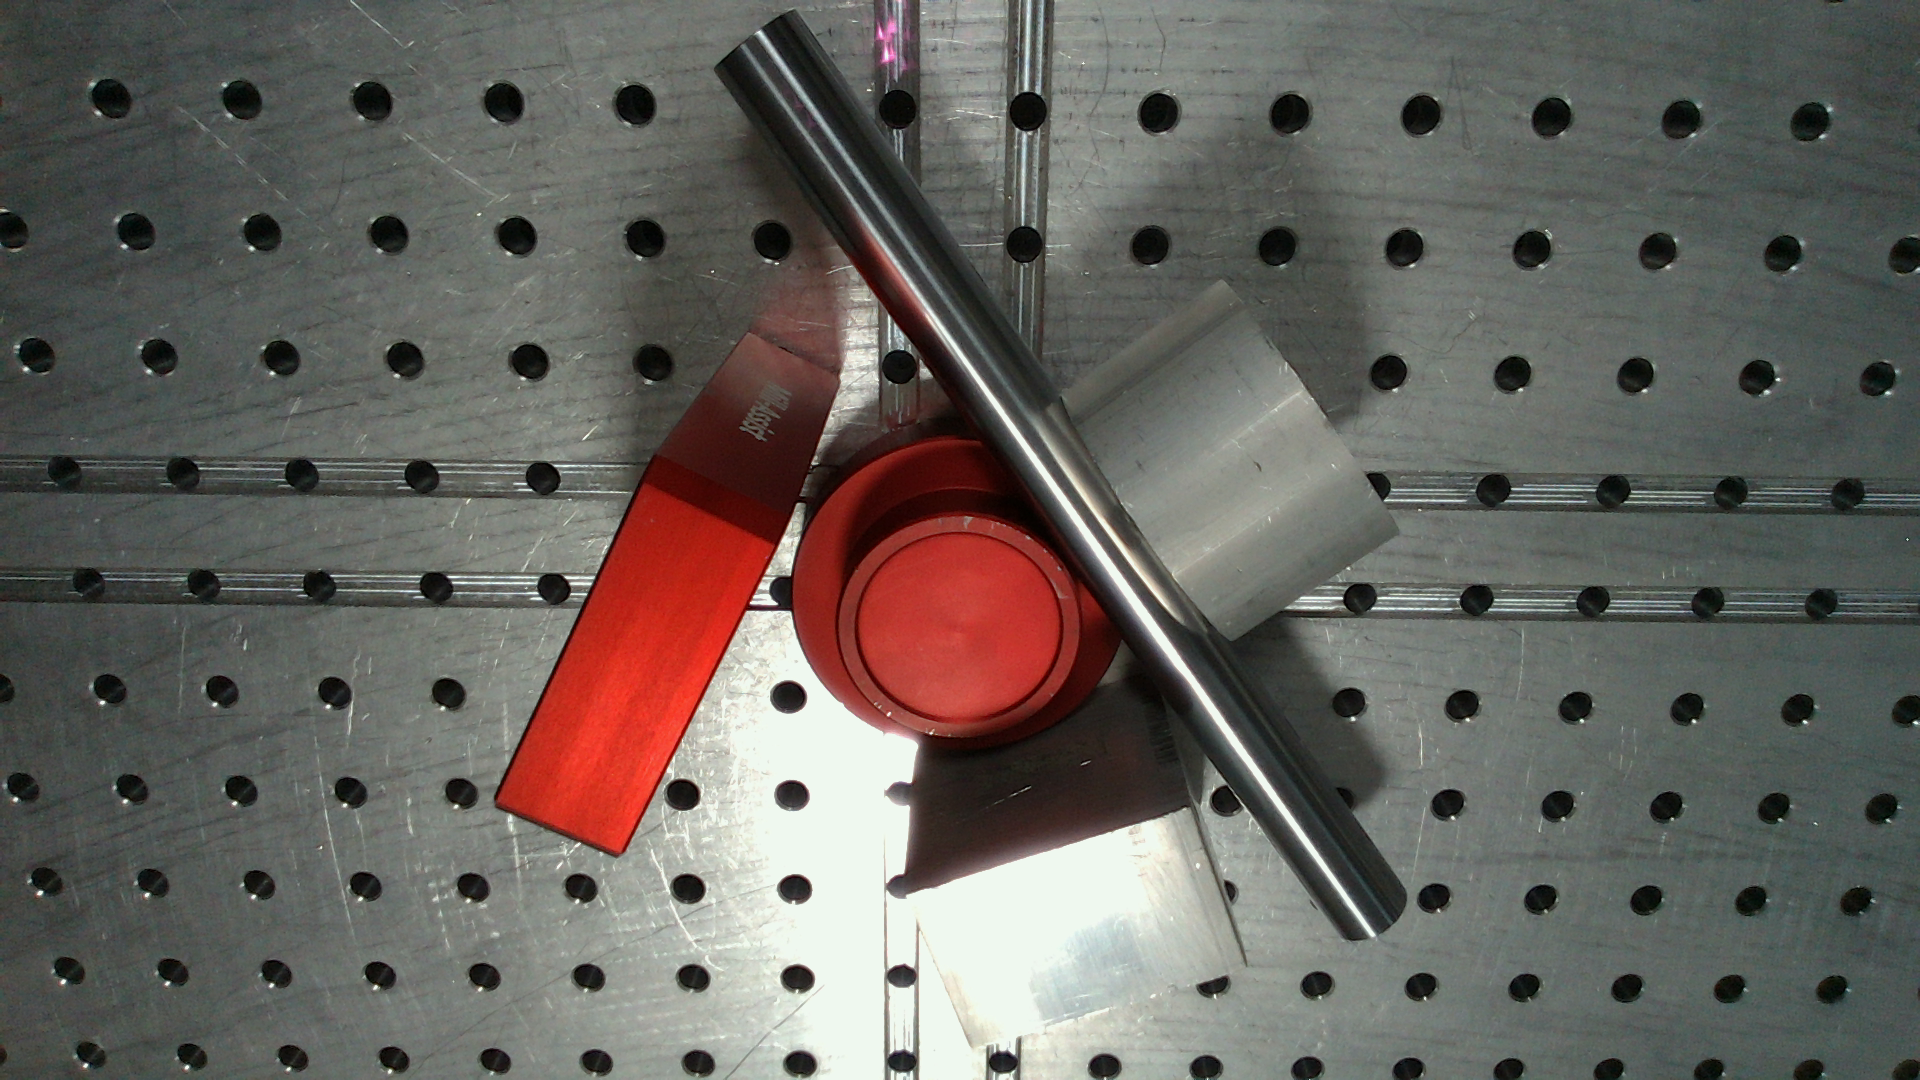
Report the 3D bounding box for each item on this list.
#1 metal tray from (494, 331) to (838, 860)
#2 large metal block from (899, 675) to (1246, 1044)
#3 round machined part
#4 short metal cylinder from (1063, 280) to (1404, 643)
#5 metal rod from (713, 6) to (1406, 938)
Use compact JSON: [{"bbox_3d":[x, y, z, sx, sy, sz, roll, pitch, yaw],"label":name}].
[{"bbox_3d":[-0.068,0.006,0.343,0.030,0.130,0.090,26,108,-9],"label":"metal tray"},{"bbox_3d":[0.030,0.089,0.400,0.080,0.080,0.050,-18,109,7],"label":"large metal block"},{"bbox_3d":[0.000,0.018,0.394,0.098,0.042,0.098,0,110,0],"label":"round machined part"},{"bbox_3d":[0.071,-0.020,0.359,0.050,0.080,0.080,-35,106,12],"label":"short metal cylinder"},{"bbox_3d":[0.037,-0.005,0.372,0.025,0.025,0.300,-33,107,11],"label":"metal rod"}]
